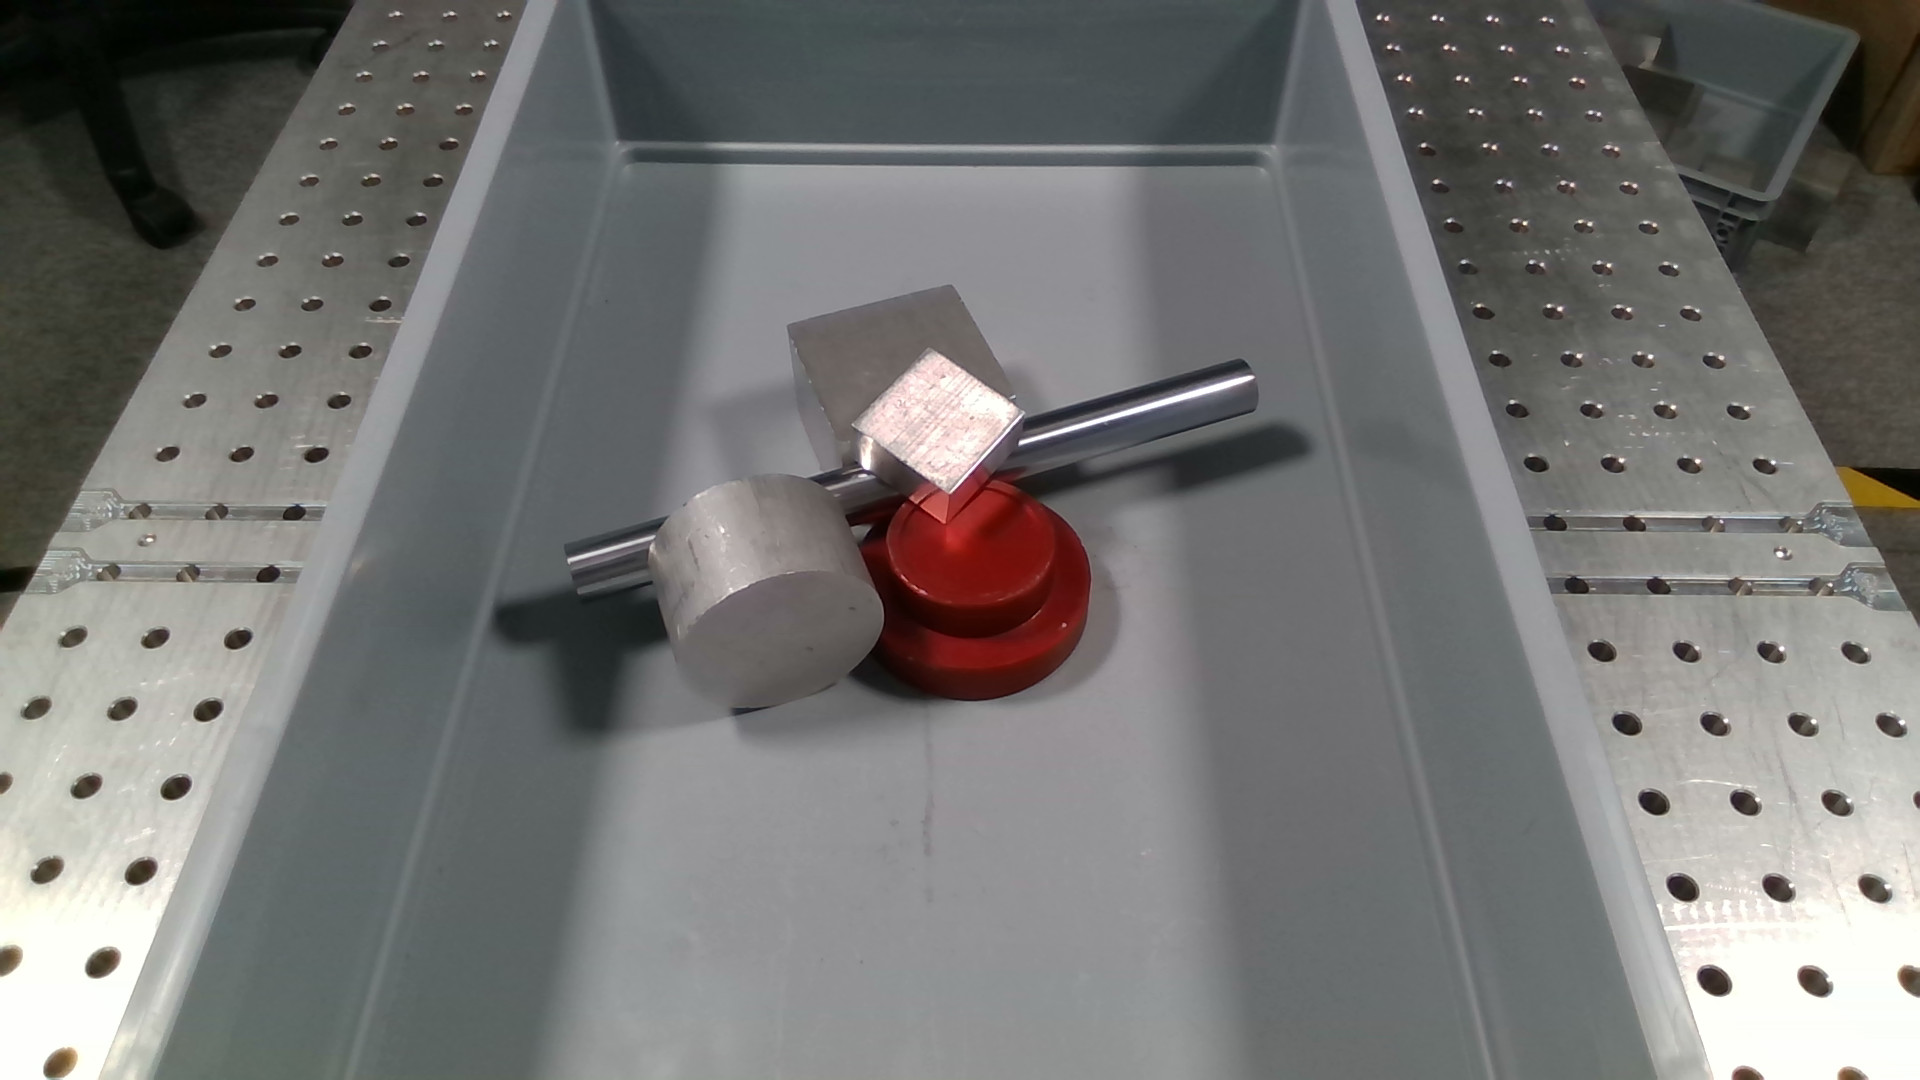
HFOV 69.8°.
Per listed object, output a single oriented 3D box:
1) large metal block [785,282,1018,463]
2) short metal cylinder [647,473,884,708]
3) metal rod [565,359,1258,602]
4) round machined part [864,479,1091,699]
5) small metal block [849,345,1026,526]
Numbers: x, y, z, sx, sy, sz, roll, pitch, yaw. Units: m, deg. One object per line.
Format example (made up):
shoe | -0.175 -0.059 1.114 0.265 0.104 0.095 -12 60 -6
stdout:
large metal block | -0.027 -0.063 0.619 0.080 0.050 0.080 -16 52 -13
short metal cylinder | -0.076 0.020 0.533 0.080 0.080 0.050 -16 52 -13
metal rod | -0.013 -0.028 0.582 0.300 0.025 0.025 -16 52 -13
round machined part | 0.005 0.013 0.563 0.098 0.042 0.098 0 50 0
small metal block | -0.010 -0.043 0.558 0.050 0.025 0.050 36 65 13
